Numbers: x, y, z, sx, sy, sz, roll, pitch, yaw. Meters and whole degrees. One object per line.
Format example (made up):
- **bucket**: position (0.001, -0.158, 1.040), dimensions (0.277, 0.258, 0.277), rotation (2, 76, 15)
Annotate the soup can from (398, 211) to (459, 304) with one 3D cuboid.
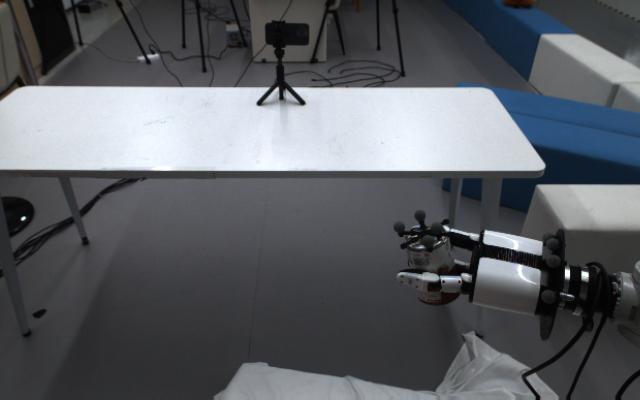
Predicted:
- **soup can**: position (0.171, 0.097, 0.731), dimensions (0.067, 0.101, 0.067), rotation (-16, 23, 7)
